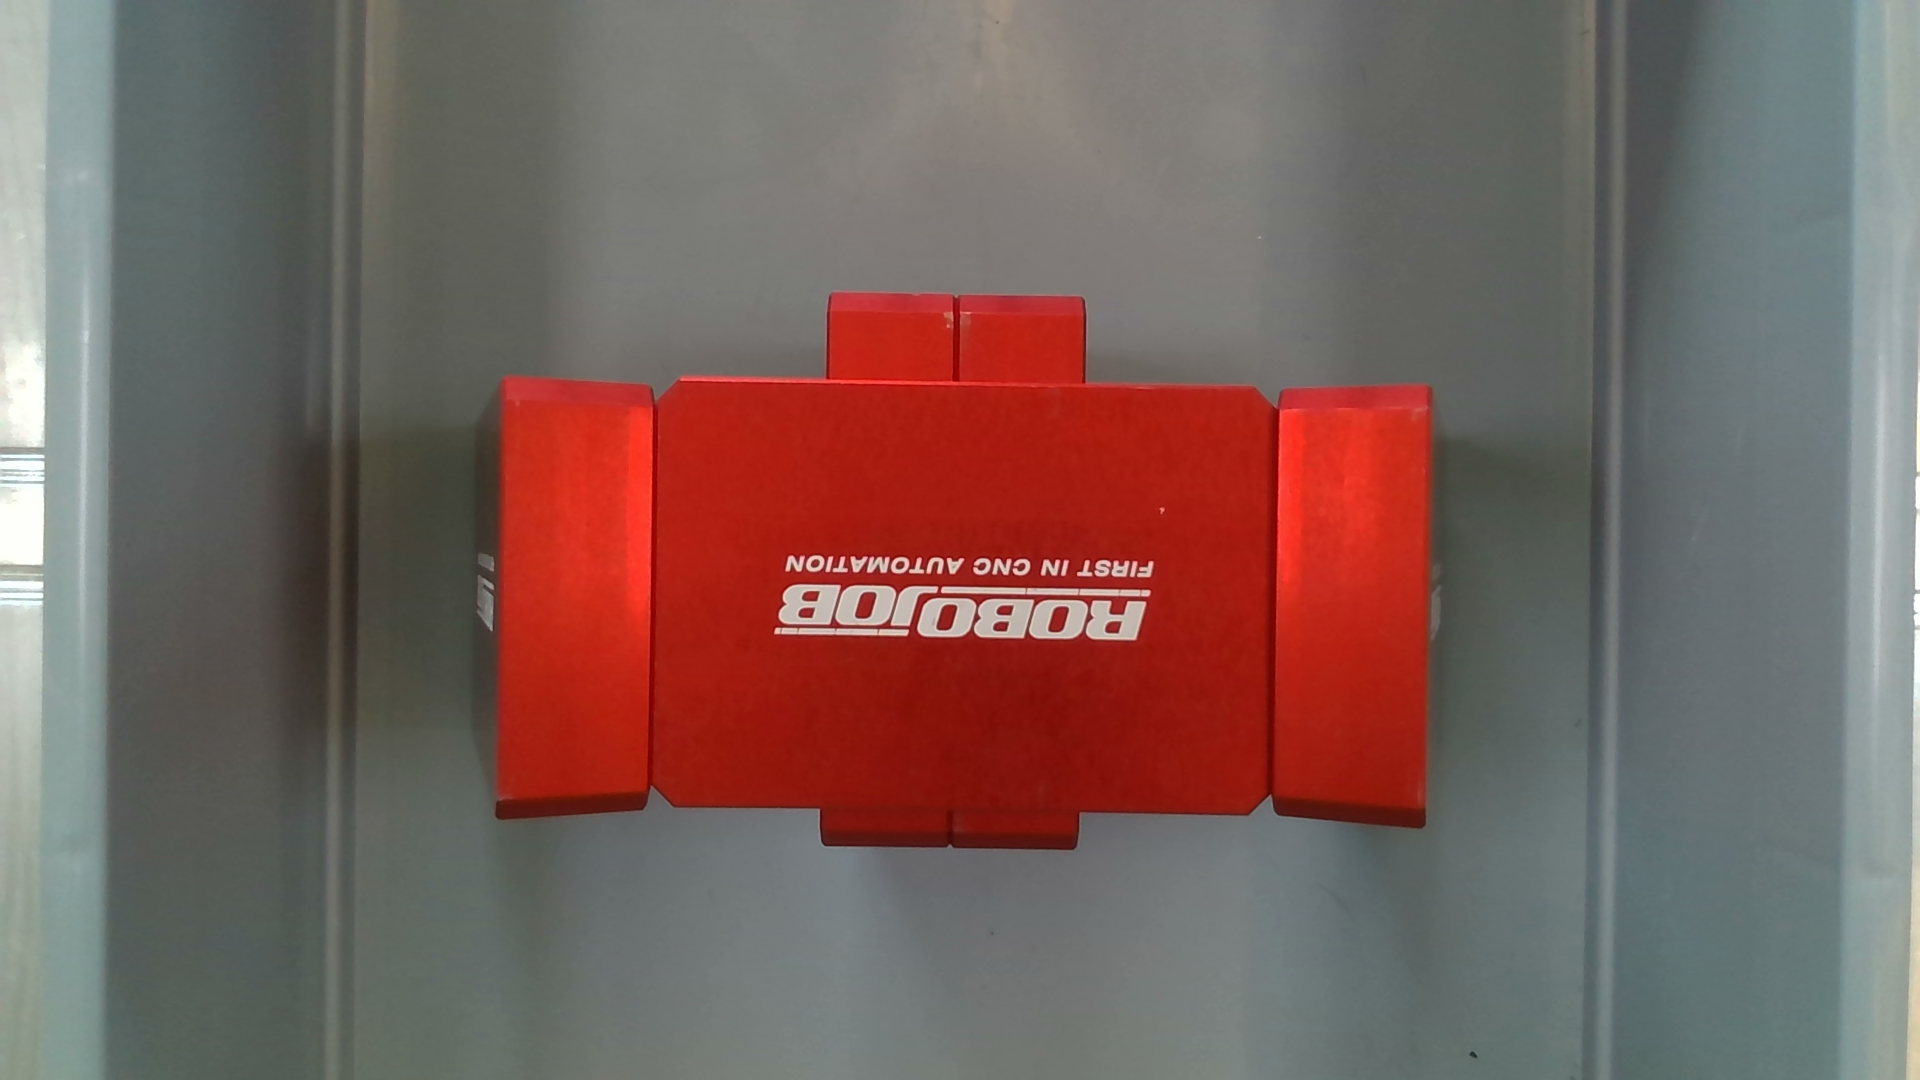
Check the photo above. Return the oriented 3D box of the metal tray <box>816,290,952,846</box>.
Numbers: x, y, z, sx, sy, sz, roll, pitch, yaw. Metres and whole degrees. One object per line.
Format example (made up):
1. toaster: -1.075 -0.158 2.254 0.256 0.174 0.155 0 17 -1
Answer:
1. metal tray: -0.018 0.007 0.363 0.030 0.090 0.130 1 90 0

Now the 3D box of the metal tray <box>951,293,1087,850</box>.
1. metal tray: 0.014 0.008 0.362 0.030 0.090 0.130 1 90 0

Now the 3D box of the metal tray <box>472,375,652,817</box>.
1. metal tray: -0.102 0.011 0.341 0.030 0.130 0.090 0 91 -22

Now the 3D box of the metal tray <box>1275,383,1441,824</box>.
1. metal tray: 0.102 0.013 0.341 0.030 0.130 0.090 1 90 20

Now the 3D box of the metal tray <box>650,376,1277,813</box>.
1. metal tray: 0.001 0.011 0.302 0.130 0.030 0.090 1 91 0
